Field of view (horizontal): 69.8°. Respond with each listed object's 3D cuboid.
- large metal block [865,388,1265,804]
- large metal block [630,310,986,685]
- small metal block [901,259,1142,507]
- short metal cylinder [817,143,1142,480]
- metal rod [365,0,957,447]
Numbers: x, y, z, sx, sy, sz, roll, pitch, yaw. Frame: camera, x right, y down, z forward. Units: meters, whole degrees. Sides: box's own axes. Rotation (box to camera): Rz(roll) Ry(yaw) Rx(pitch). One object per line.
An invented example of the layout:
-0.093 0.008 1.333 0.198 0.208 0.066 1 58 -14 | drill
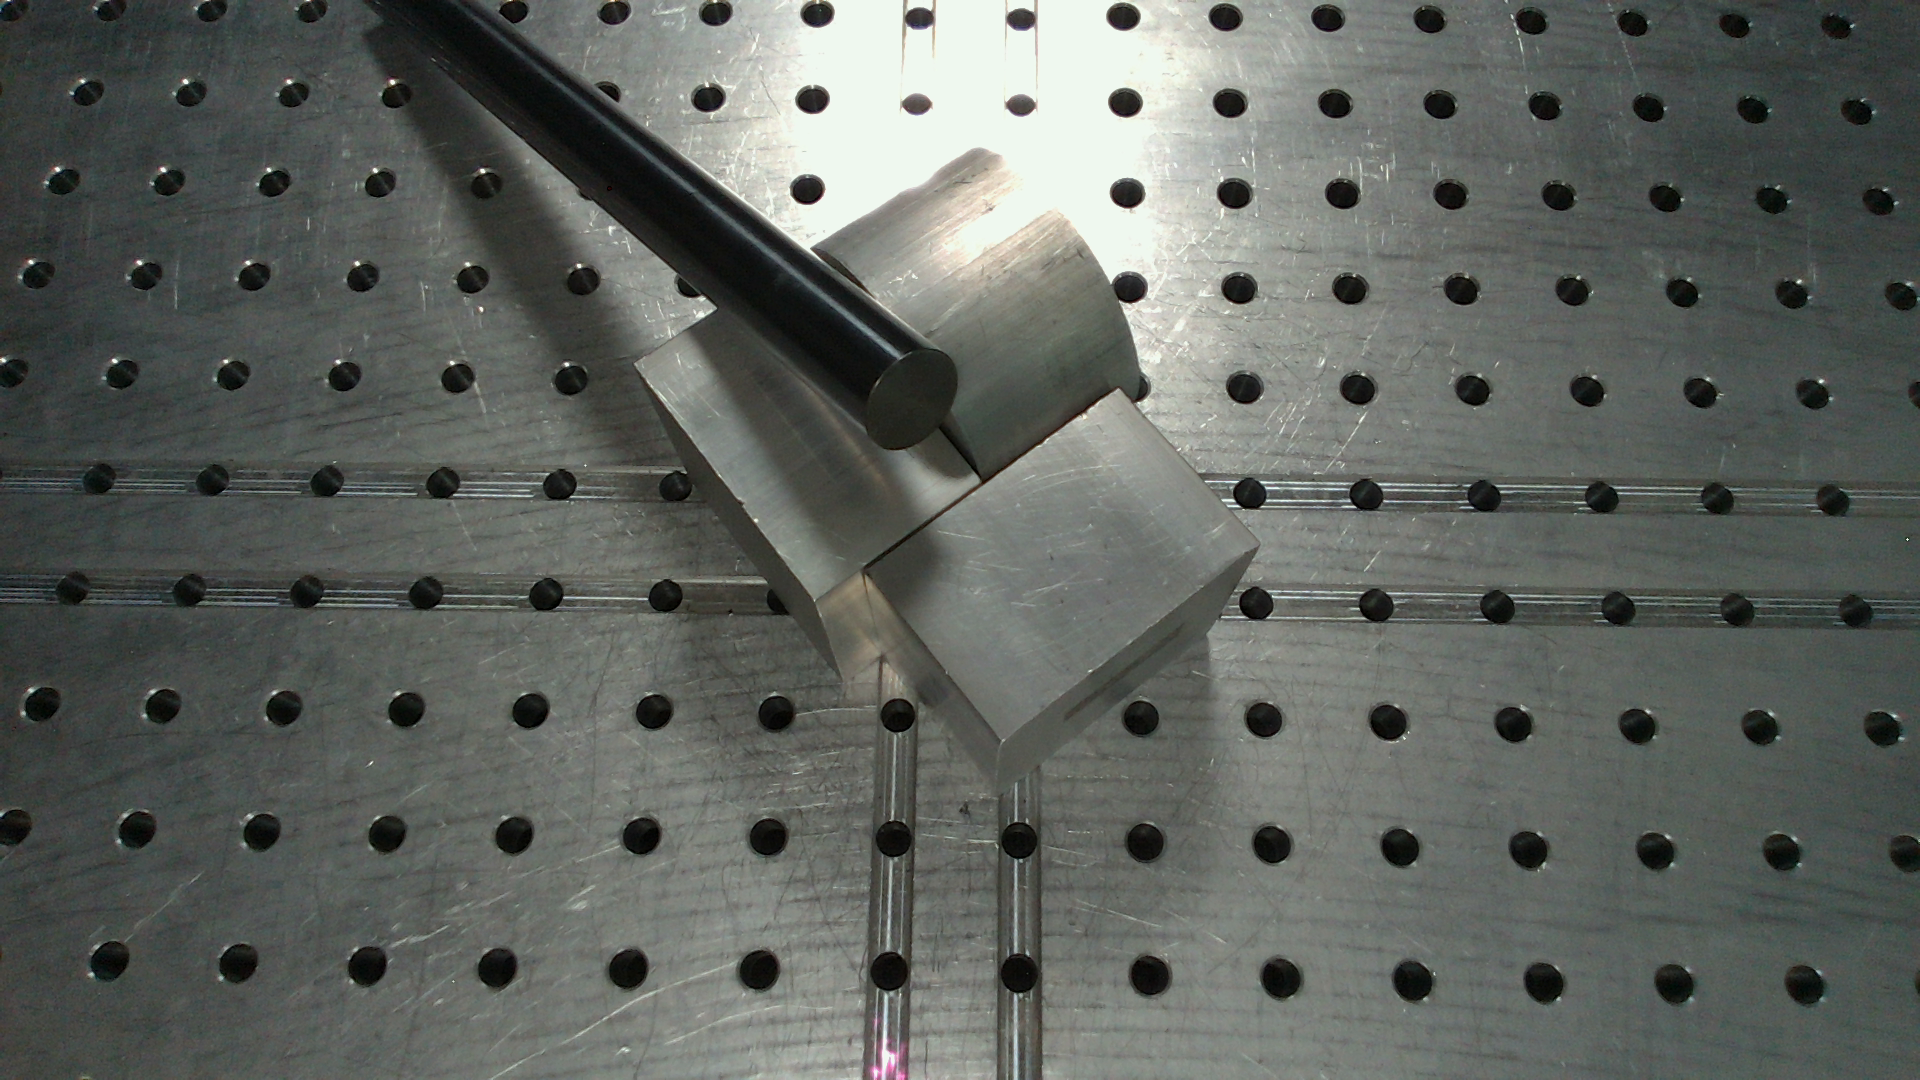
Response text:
0.025 0.018 0.359 0.080 0.080 0.050 -36 74 -12 | large metal block
-0.038 -0.015 0.374 0.050 0.080 0.080 -36 74 -12 | large metal block
0.018 -0.047 0.415 0.050 0.025 0.050 -40 75 -13 | small metal block
0.003 -0.055 0.361 0.050 0.080 0.080 -35 74 -12 | short metal cylinder
-0.102 -0.111 0.382 0.025 0.025 0.299 -39 53 -13 | metal rod
